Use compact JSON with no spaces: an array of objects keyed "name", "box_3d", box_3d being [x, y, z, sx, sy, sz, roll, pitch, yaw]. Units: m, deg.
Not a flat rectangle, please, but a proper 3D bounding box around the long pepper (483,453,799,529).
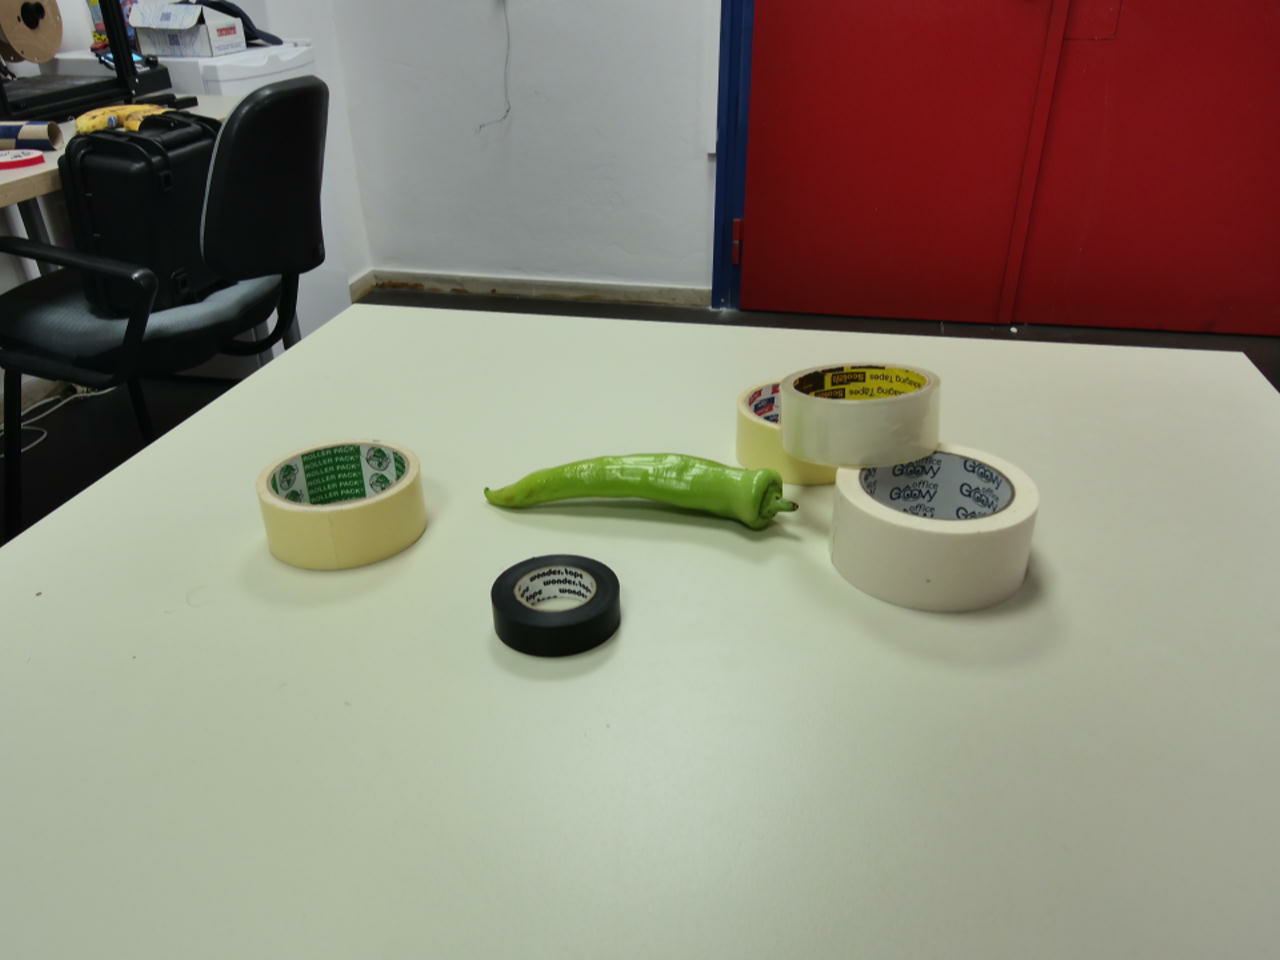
[{"name":"long pepper","box_3d":[0.000,0.002,0.611,0.197,0.038,0.046,6,27,13]}]
